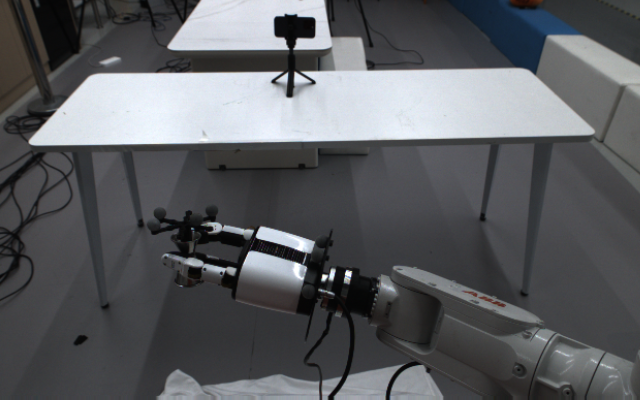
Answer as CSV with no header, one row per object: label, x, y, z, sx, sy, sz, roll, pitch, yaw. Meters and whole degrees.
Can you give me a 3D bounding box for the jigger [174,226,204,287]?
jigger,-0.182,0.080,0.668,0.043,0.071,0.043,1,22,0
